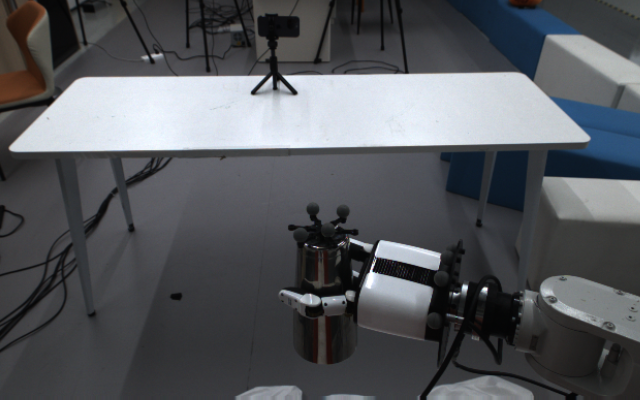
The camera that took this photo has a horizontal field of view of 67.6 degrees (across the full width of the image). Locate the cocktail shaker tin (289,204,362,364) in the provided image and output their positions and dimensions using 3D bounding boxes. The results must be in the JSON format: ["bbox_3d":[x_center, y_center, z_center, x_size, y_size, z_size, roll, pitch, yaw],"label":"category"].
[{"bbox_3d":[0.009,0.121,0.645,0.093,0.170,0.093,-1,26,1],"label":"cocktail shaker tin"}]
